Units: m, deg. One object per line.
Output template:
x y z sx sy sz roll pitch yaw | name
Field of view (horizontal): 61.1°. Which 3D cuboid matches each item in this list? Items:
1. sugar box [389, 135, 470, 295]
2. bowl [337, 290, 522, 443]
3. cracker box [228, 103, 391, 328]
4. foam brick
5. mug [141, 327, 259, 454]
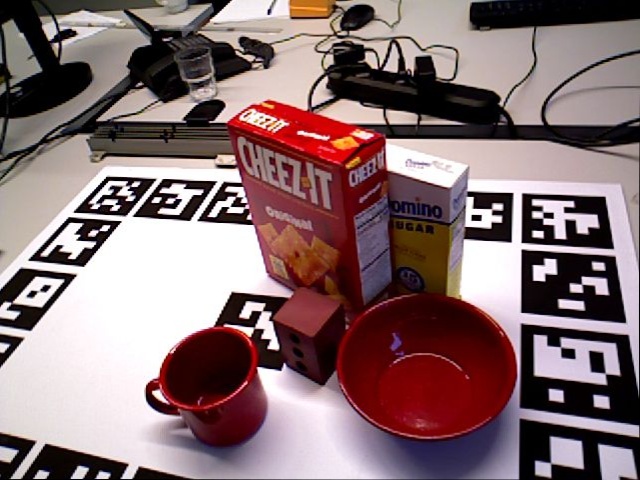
0.103 -0.014 0.562 0.093 0.180 0.044 21 49 32 | sugar box
0.098 0.120 0.487 0.161 0.056 0.159 -7 41 5 | bowl
-0.008 -0.027 0.576 0.070 0.218 0.164 -35 47 -30 | cracker box
-0.010 0.094 0.549 0.053 0.079 0.050 16 46 29 | foam brick
-0.114 0.141 0.504 0.117 0.083 0.091 -3 33 12 | mug
